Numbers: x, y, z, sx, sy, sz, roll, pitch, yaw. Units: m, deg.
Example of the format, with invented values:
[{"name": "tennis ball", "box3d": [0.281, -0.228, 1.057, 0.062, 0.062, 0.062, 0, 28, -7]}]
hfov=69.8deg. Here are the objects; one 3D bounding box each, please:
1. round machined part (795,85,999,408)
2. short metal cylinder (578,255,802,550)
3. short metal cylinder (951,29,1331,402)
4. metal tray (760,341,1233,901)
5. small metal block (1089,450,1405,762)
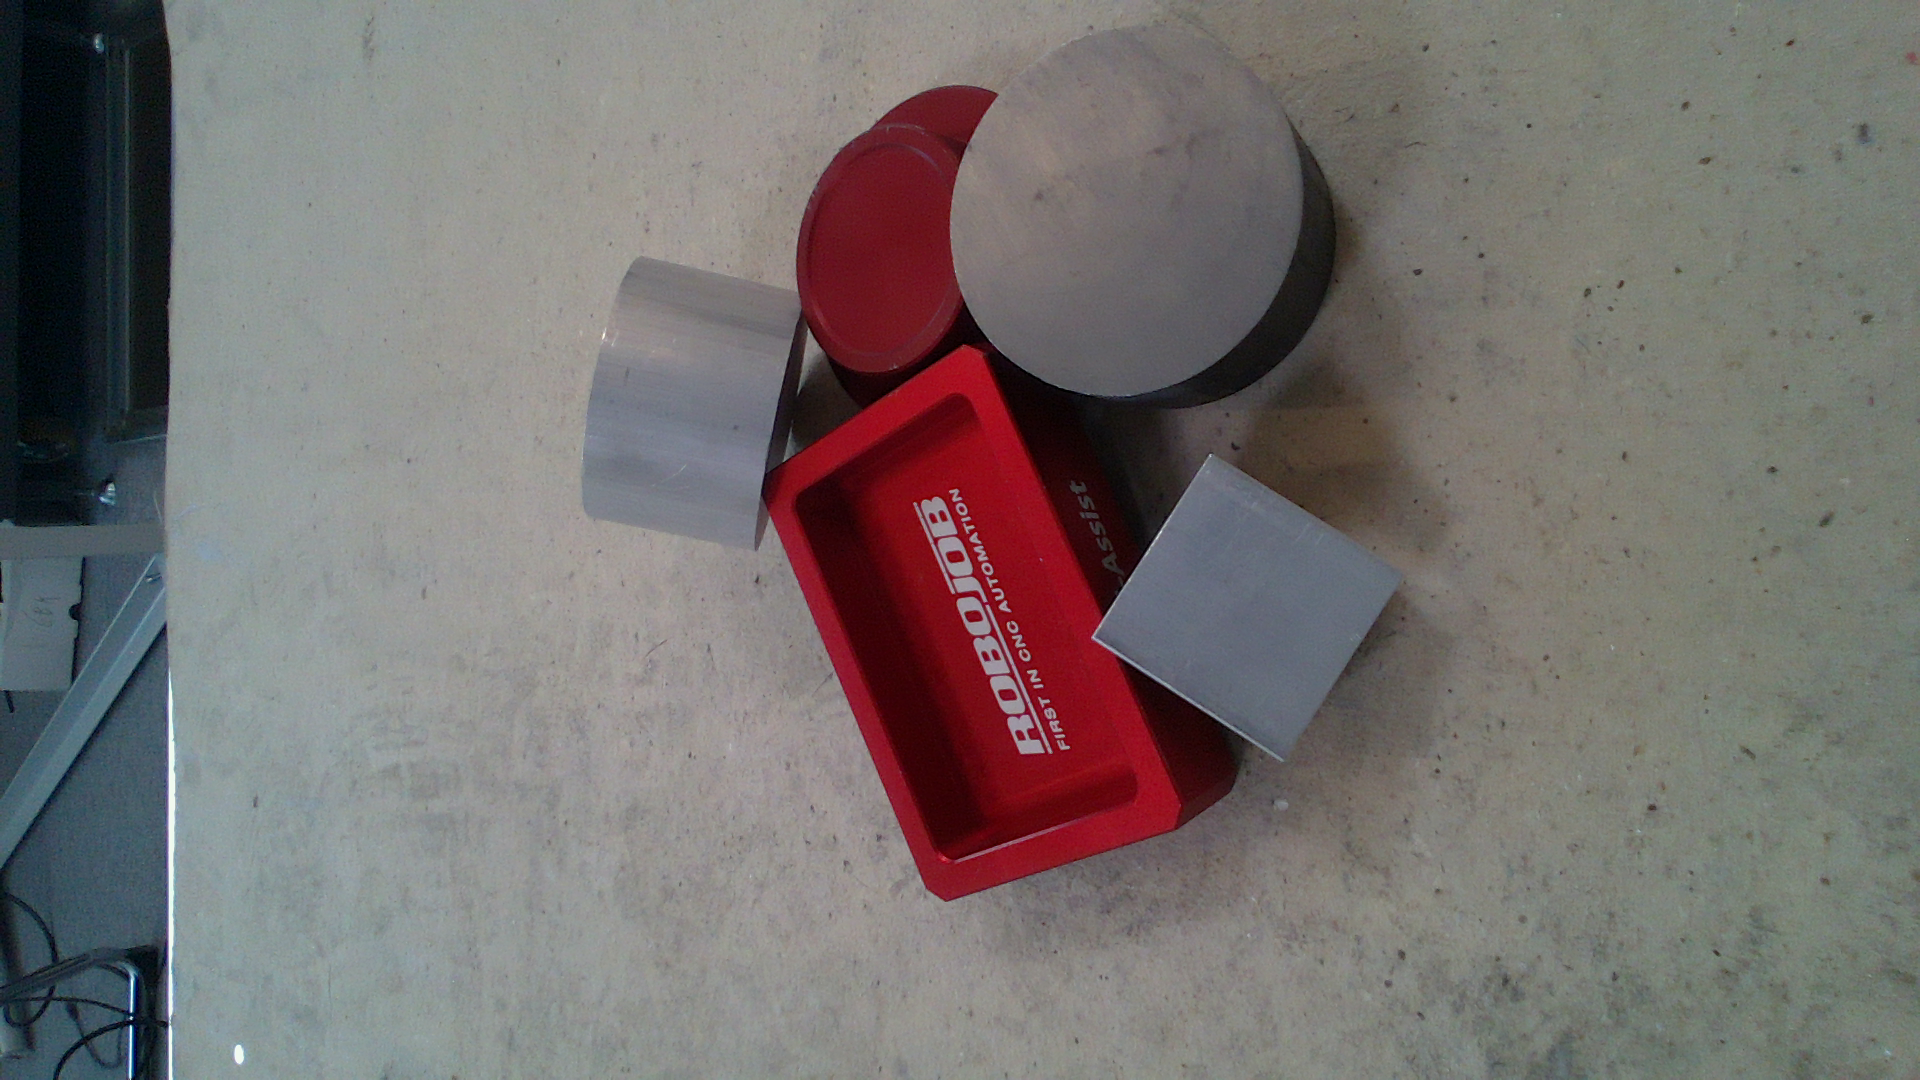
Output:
[{"name": "round machined part", "box3d": [-0.009, -0.080, 0.392, 0.098, 0.042, 0.098, 0, 90, 40]}, {"name": "short metal cylinder", "box3d": [-0.079, -0.041, 0.417, 0.050, 0.080, 0.080, 12, 101, -4]}, {"name": "short metal cylinder", "box3d": [0.045, -0.073, 0.327, 0.080, 0.050, 0.080, 1, 92, 22]}, {"name": "metal tray", "box3d": [0.006, 0.023, 0.372, 0.090, 0.030, 0.130, -28, 82, 37]}, {"name": "small metal block", "box3d": [0.065, 0.015, 0.318, 0.050, 0.025, 0.050, 33, 88, 7]}]
